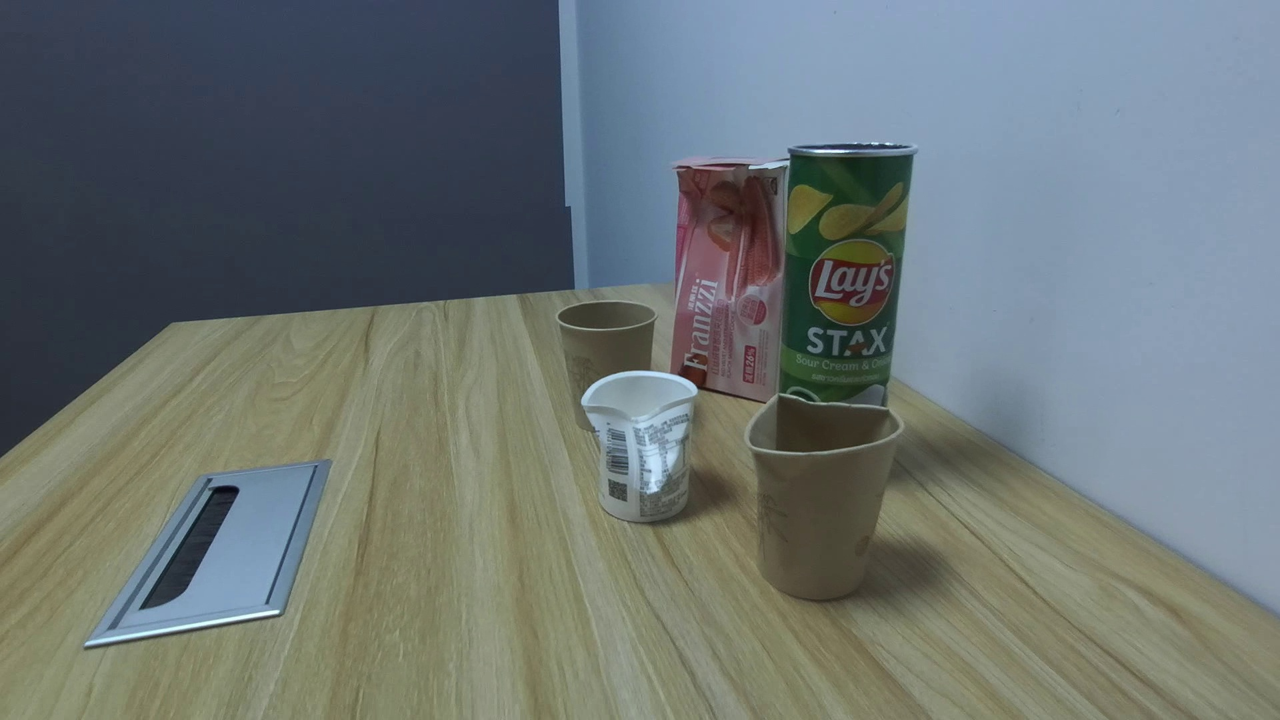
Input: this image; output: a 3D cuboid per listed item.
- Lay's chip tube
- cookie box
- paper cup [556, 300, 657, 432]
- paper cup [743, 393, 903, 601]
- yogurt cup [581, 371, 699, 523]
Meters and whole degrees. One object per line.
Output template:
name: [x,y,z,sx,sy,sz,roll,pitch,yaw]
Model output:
Lay's chip tube: [0.120,-0.025,0.424,0.071,0.202,0.071,-1,20,1]
cookie box: [0.072,-0.064,0.558,0.118,0.184,0.056,13,23,37]
paper cup: [-0.023,0.007,0.513,0.075,0.082,0.075,-1,17,1]
paper cup: [0.086,0.067,0.340,0.071,0.084,0.066,6,22,19]
yogurt cup: [0.001,0.050,0.415,0.067,0.070,0.067,-3,20,1]
